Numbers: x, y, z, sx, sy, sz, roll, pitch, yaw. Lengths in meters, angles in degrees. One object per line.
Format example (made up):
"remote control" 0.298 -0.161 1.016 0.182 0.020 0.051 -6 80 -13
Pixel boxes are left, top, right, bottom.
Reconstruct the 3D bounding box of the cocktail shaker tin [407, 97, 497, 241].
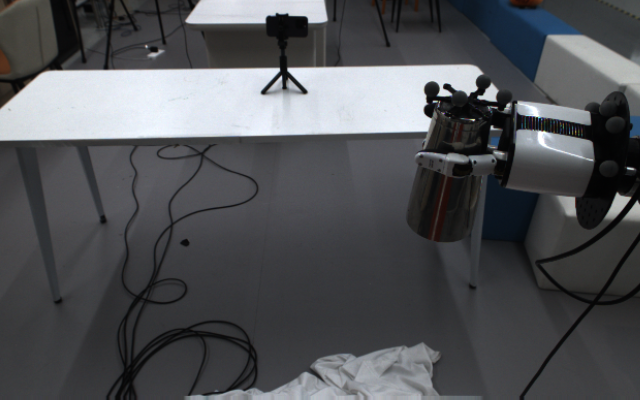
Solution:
"cocktail shaker tin" 0.169 -0.044 0.615 0.093 0.170 0.093 1 39 -1
